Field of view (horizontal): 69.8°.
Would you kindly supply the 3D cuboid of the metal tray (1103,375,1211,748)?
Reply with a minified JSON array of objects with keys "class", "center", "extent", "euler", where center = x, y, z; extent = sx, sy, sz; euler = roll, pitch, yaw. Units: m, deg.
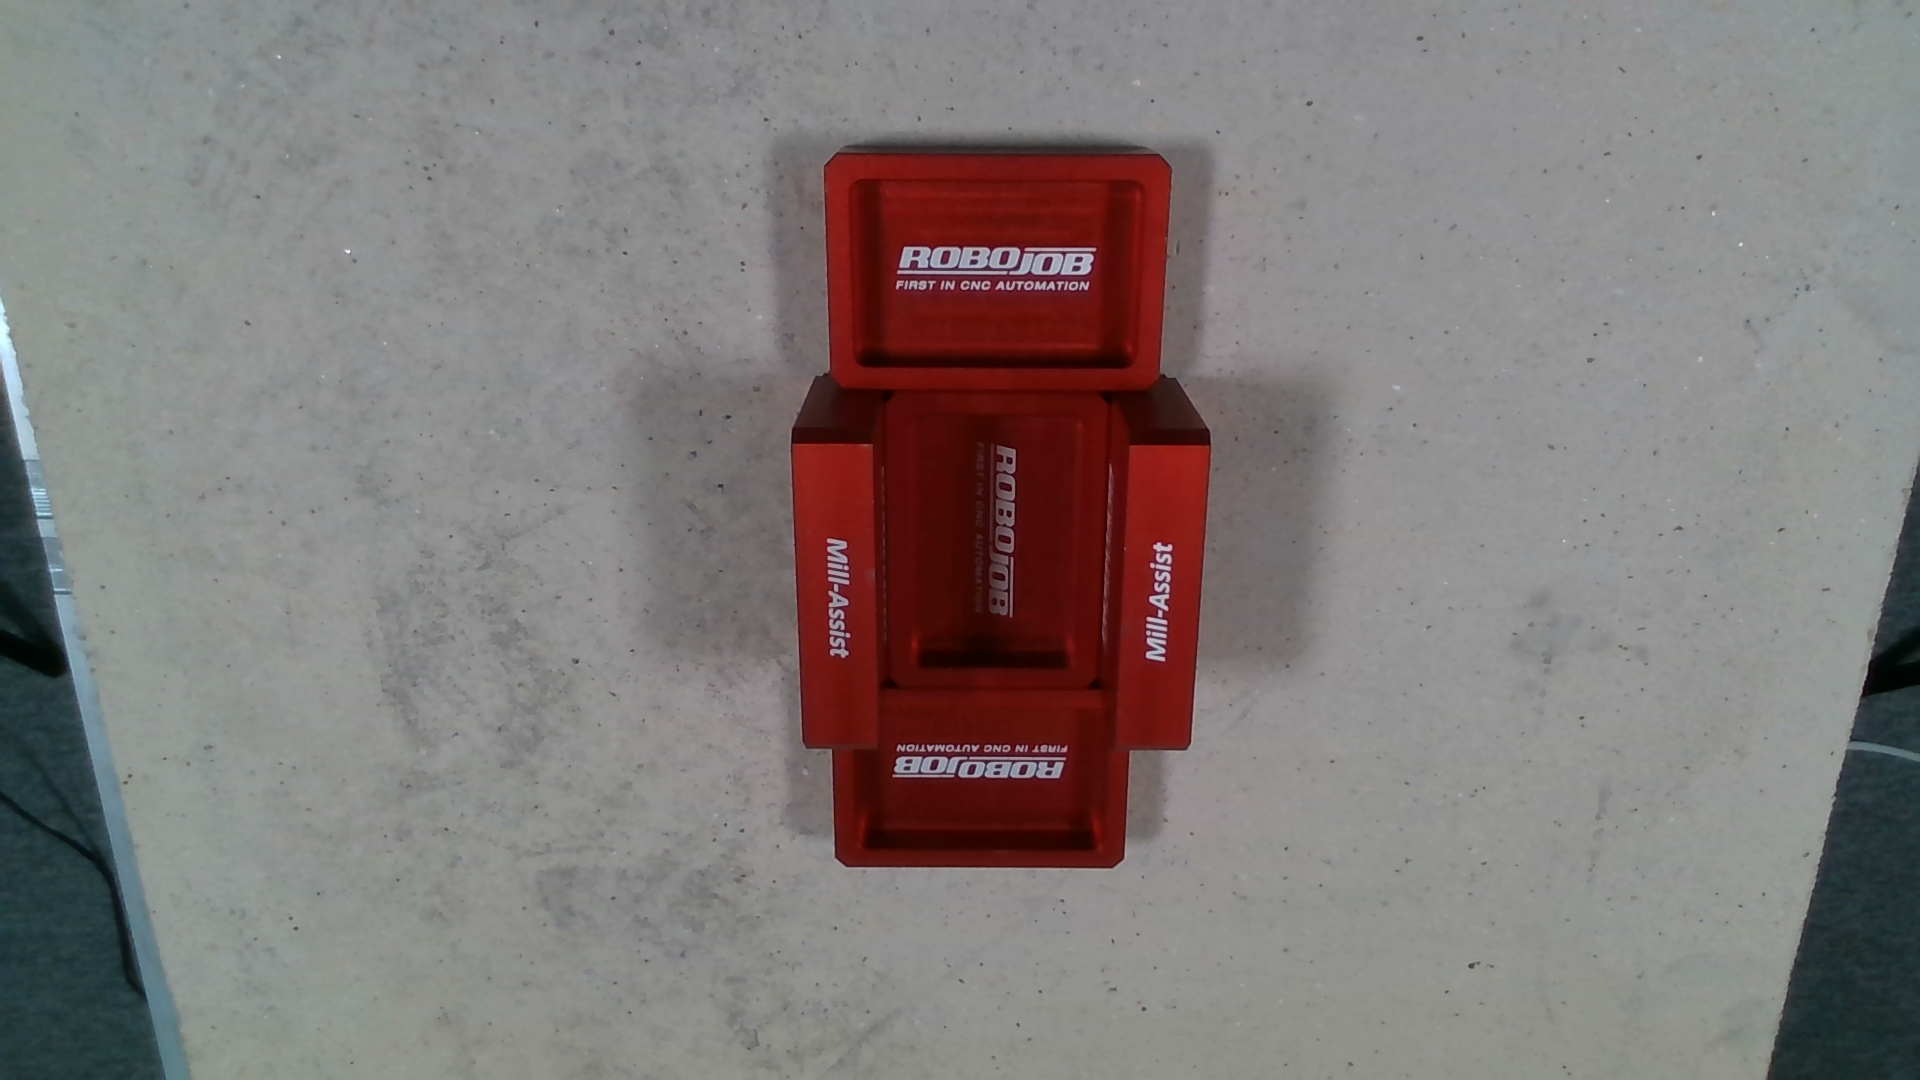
[{"class":"metal tray","center":[0.074,0.007,0.553],"extent":[0.030,0.090,0.130],"euler":[0,110,0]}]

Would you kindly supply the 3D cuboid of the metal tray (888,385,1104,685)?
[{"class":"metal tray","center":[0.014,-0.004,0.580],"extent":[0.090,0.030,0.130],"euler":[1,110,0]}]

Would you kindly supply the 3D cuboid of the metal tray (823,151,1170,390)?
[{"class":"metal tray","center":[0.013,-0.107,0.542],"extent":[0.130,0.030,0.090],"euler":[0,110,0]}]

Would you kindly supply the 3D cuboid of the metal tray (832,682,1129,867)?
[{"class":"metal tray","center":[0.009,0.100,0.619],"extent":[0.130,0.030,0.090],"euler":[0,110,0]}]

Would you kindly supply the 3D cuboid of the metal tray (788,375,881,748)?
[{"class":"metal tray","center":[-0.046,0.007,0.551],"extent":[0.030,0.090,0.130],"euler":[0,110,0]}]
